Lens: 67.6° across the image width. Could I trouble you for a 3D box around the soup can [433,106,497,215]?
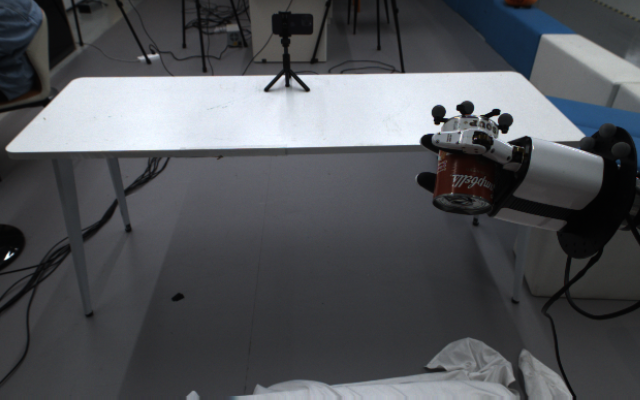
[{"bbox_3d":[0.175,-0.041,0.572,0.067,0.067,0.101,8,72,9],"label":"soup can"}]
